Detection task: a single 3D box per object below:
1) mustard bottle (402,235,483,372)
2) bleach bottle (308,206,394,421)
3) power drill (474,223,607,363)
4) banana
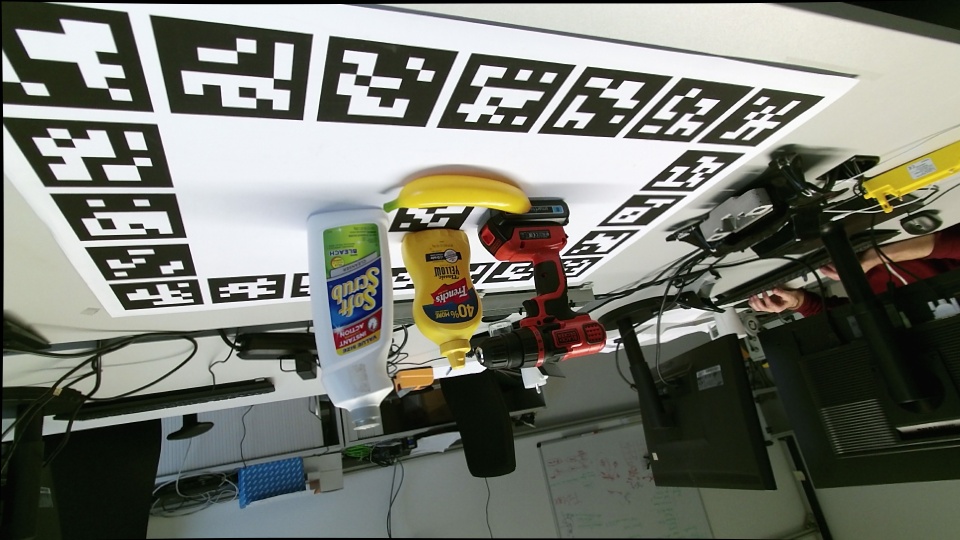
[{"bbox_3d":[-0.046,0.046,0.741,0.096,0.190,0.058,-3,156,-23],"label":"mustard bottle"},{"bbox_3d":[-0.142,0.048,0.633,0.103,0.249,0.068,-7,157,-15],"label":"bleach bottle"},{"bbox_3d":[0.072,0.031,0.723,0.185,0.186,0.057,-3,163,-19],"label":"power drill"},{"bbox_3d":[-0.019,-0.081,0.645,0.198,0.038,0.074,-4,152,-27],"label":"banana"}]
